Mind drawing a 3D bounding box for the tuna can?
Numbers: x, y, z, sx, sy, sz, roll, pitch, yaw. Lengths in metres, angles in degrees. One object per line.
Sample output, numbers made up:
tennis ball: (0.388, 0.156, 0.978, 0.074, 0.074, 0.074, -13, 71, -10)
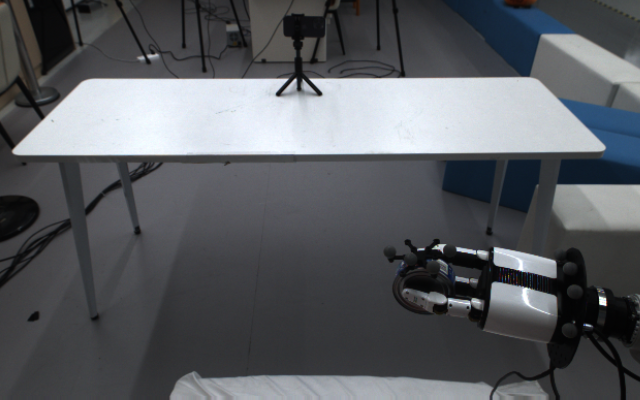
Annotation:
tuna can: (0.149, 0.117, 0.678, 0.085, 0.085, 0.034, 10, 33, 11)
